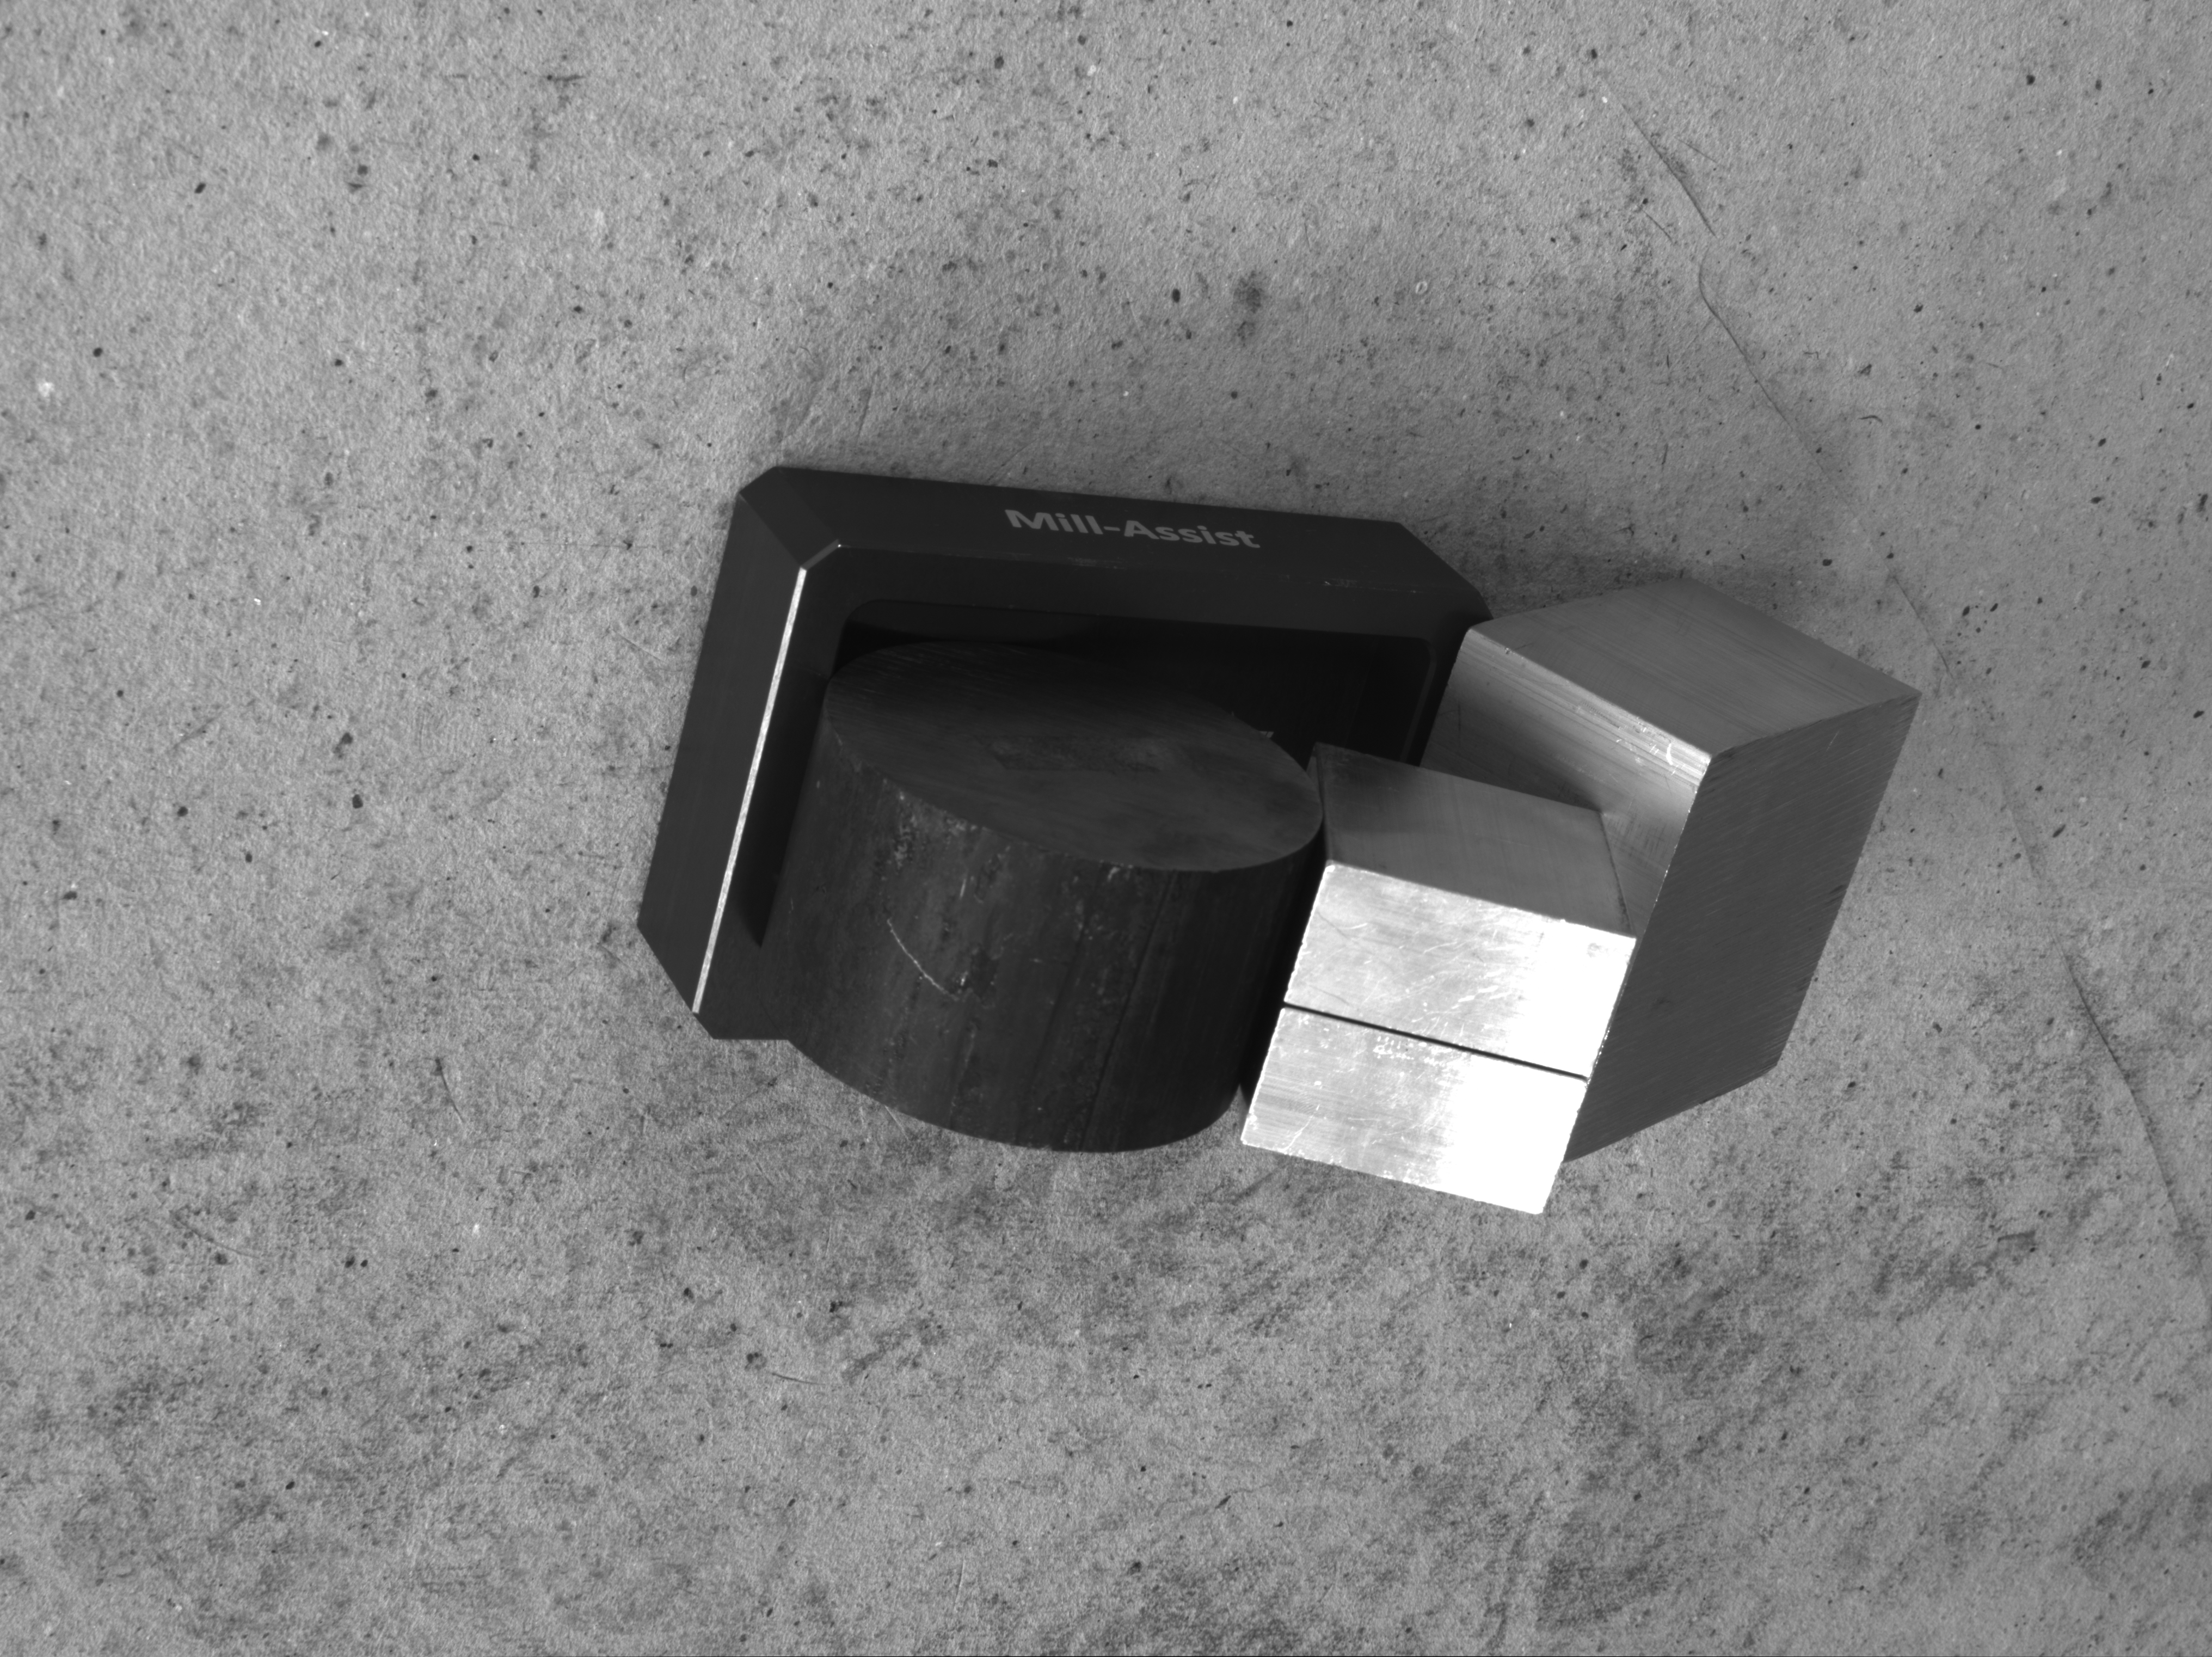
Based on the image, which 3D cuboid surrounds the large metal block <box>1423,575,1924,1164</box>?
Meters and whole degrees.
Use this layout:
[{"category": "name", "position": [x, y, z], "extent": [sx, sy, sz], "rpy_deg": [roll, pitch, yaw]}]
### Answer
[{"category": "large metal block", "position": [0.094, 0.006, 0.657], "extent": [0.080, 0.050, 0.080], "rpy_deg": [-15, 129, -52]}]

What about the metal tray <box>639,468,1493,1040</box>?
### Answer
[{"category": "metal tray", "position": [-0.006, -0.009, 0.625], "extent": [0.130, 0.030, 0.090], "rpy_deg": [2, 117, -29]}]

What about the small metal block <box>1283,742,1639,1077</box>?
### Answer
[{"category": "small metal block", "position": [0.055, 0.012, 0.592], "extent": [0.050, 0.050, 0.025], "rpy_deg": [13, 112, -5]}]

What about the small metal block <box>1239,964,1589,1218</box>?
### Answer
[{"category": "small metal block", "position": [0.049, 0.036, 0.602], "extent": [0.050, 0.050, 0.025], "rpy_deg": [13, 112, -5]}]

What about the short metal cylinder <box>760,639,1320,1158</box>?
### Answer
[{"category": "short metal cylinder", "position": [-0.011, 0.010, 0.586], "extent": [0.080, 0.080, 0.050], "rpy_deg": [1, 118, -29]}]
